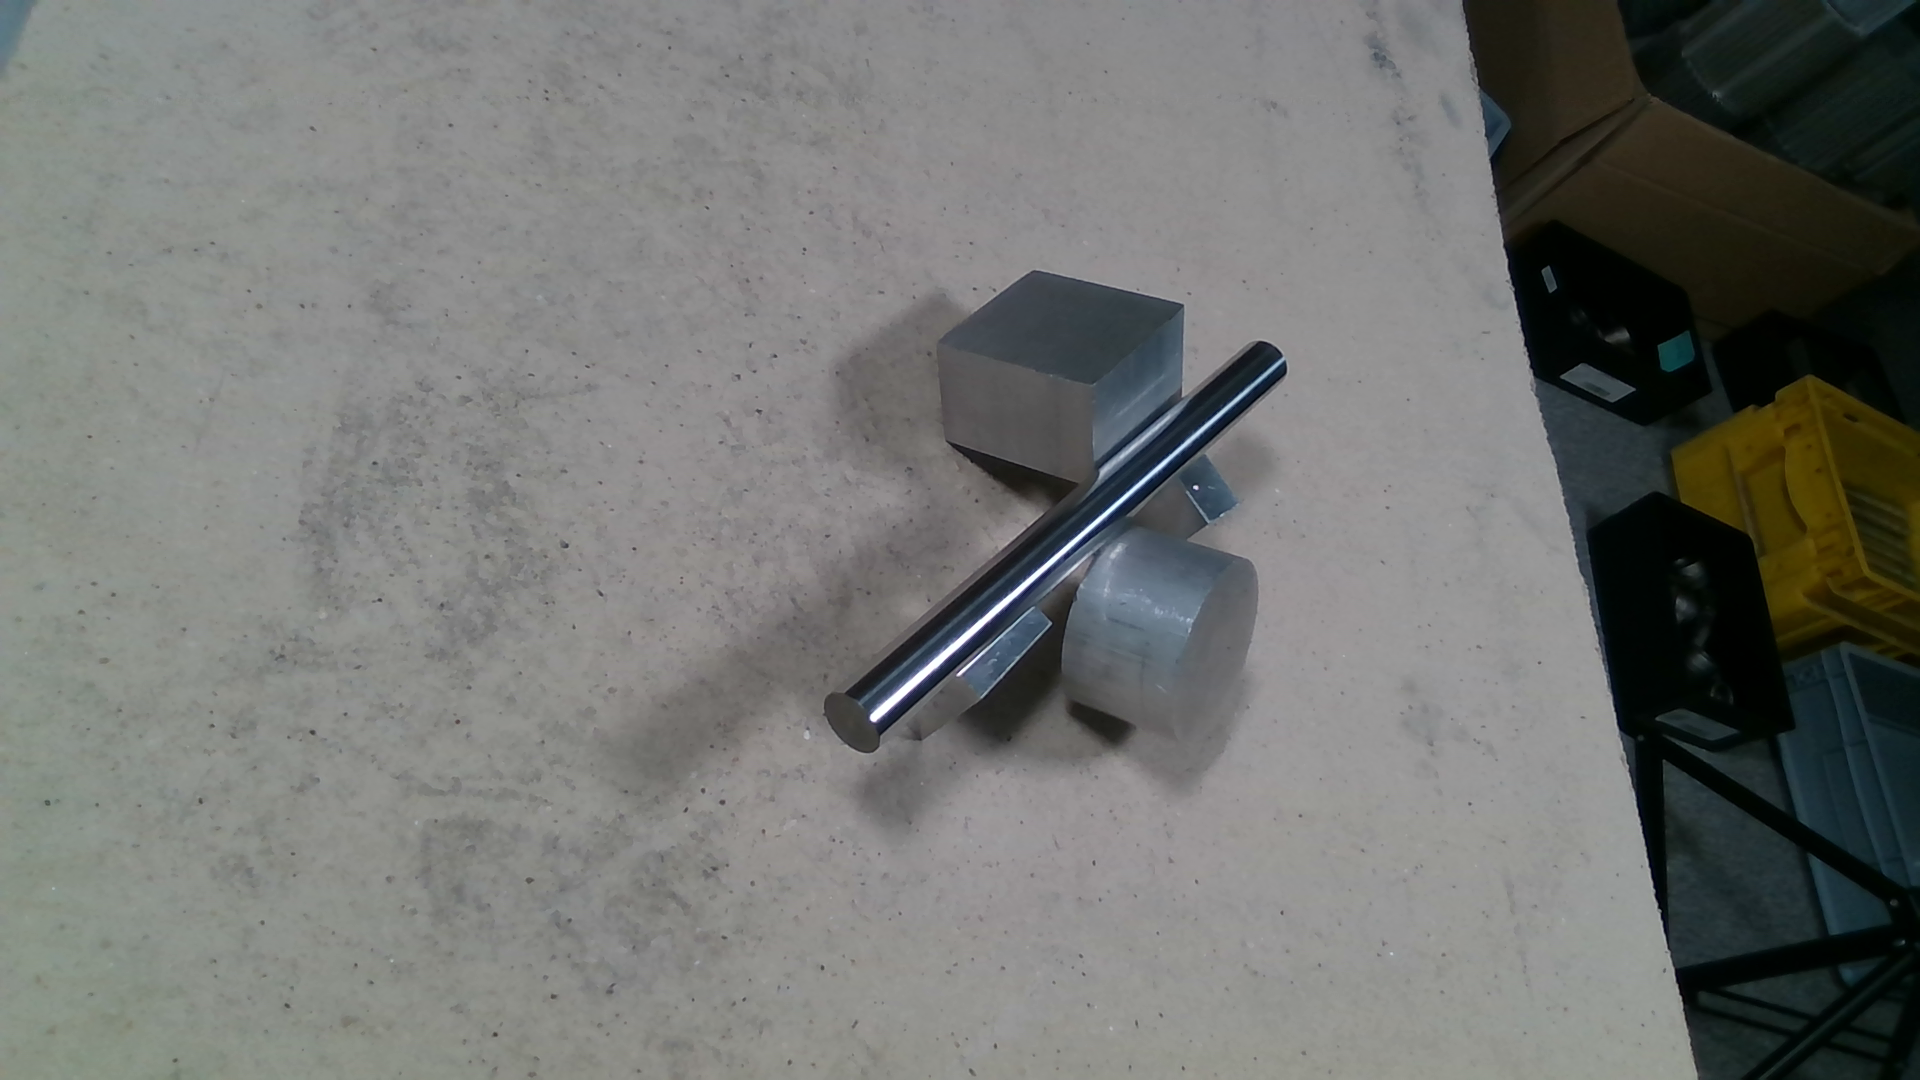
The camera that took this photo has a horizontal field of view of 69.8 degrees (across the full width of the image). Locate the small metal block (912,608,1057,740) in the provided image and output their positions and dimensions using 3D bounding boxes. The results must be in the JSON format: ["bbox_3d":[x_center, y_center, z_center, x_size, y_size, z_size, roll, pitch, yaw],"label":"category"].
[{"bbox_3d":[0.004,0.047,0.543,0.025,0.050,0.050,48,51,0],"label":"small metal block"}]

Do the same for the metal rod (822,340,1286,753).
[{"bbox_3d":[0.053,-0.011,0.560,0.025,0.025,0.299,50,51,1],"label":"metal rod"}]

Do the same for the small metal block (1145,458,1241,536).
[{"bbox_3d":[0.093,-0.022,0.640,0.025,0.050,0.050,-29,82,-39],"label":"small metal block"}]

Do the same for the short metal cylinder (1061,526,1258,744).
[{"bbox_3d":[0.084,0.039,0.574,0.050,0.080,0.080,18,44,29],"label":"short metal cylinder"}]

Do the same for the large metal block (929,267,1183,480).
[{"bbox_3d":[0.044,-0.075,0.615,0.080,0.050,0.080,20,44,30],"label":"large metal block"}]
